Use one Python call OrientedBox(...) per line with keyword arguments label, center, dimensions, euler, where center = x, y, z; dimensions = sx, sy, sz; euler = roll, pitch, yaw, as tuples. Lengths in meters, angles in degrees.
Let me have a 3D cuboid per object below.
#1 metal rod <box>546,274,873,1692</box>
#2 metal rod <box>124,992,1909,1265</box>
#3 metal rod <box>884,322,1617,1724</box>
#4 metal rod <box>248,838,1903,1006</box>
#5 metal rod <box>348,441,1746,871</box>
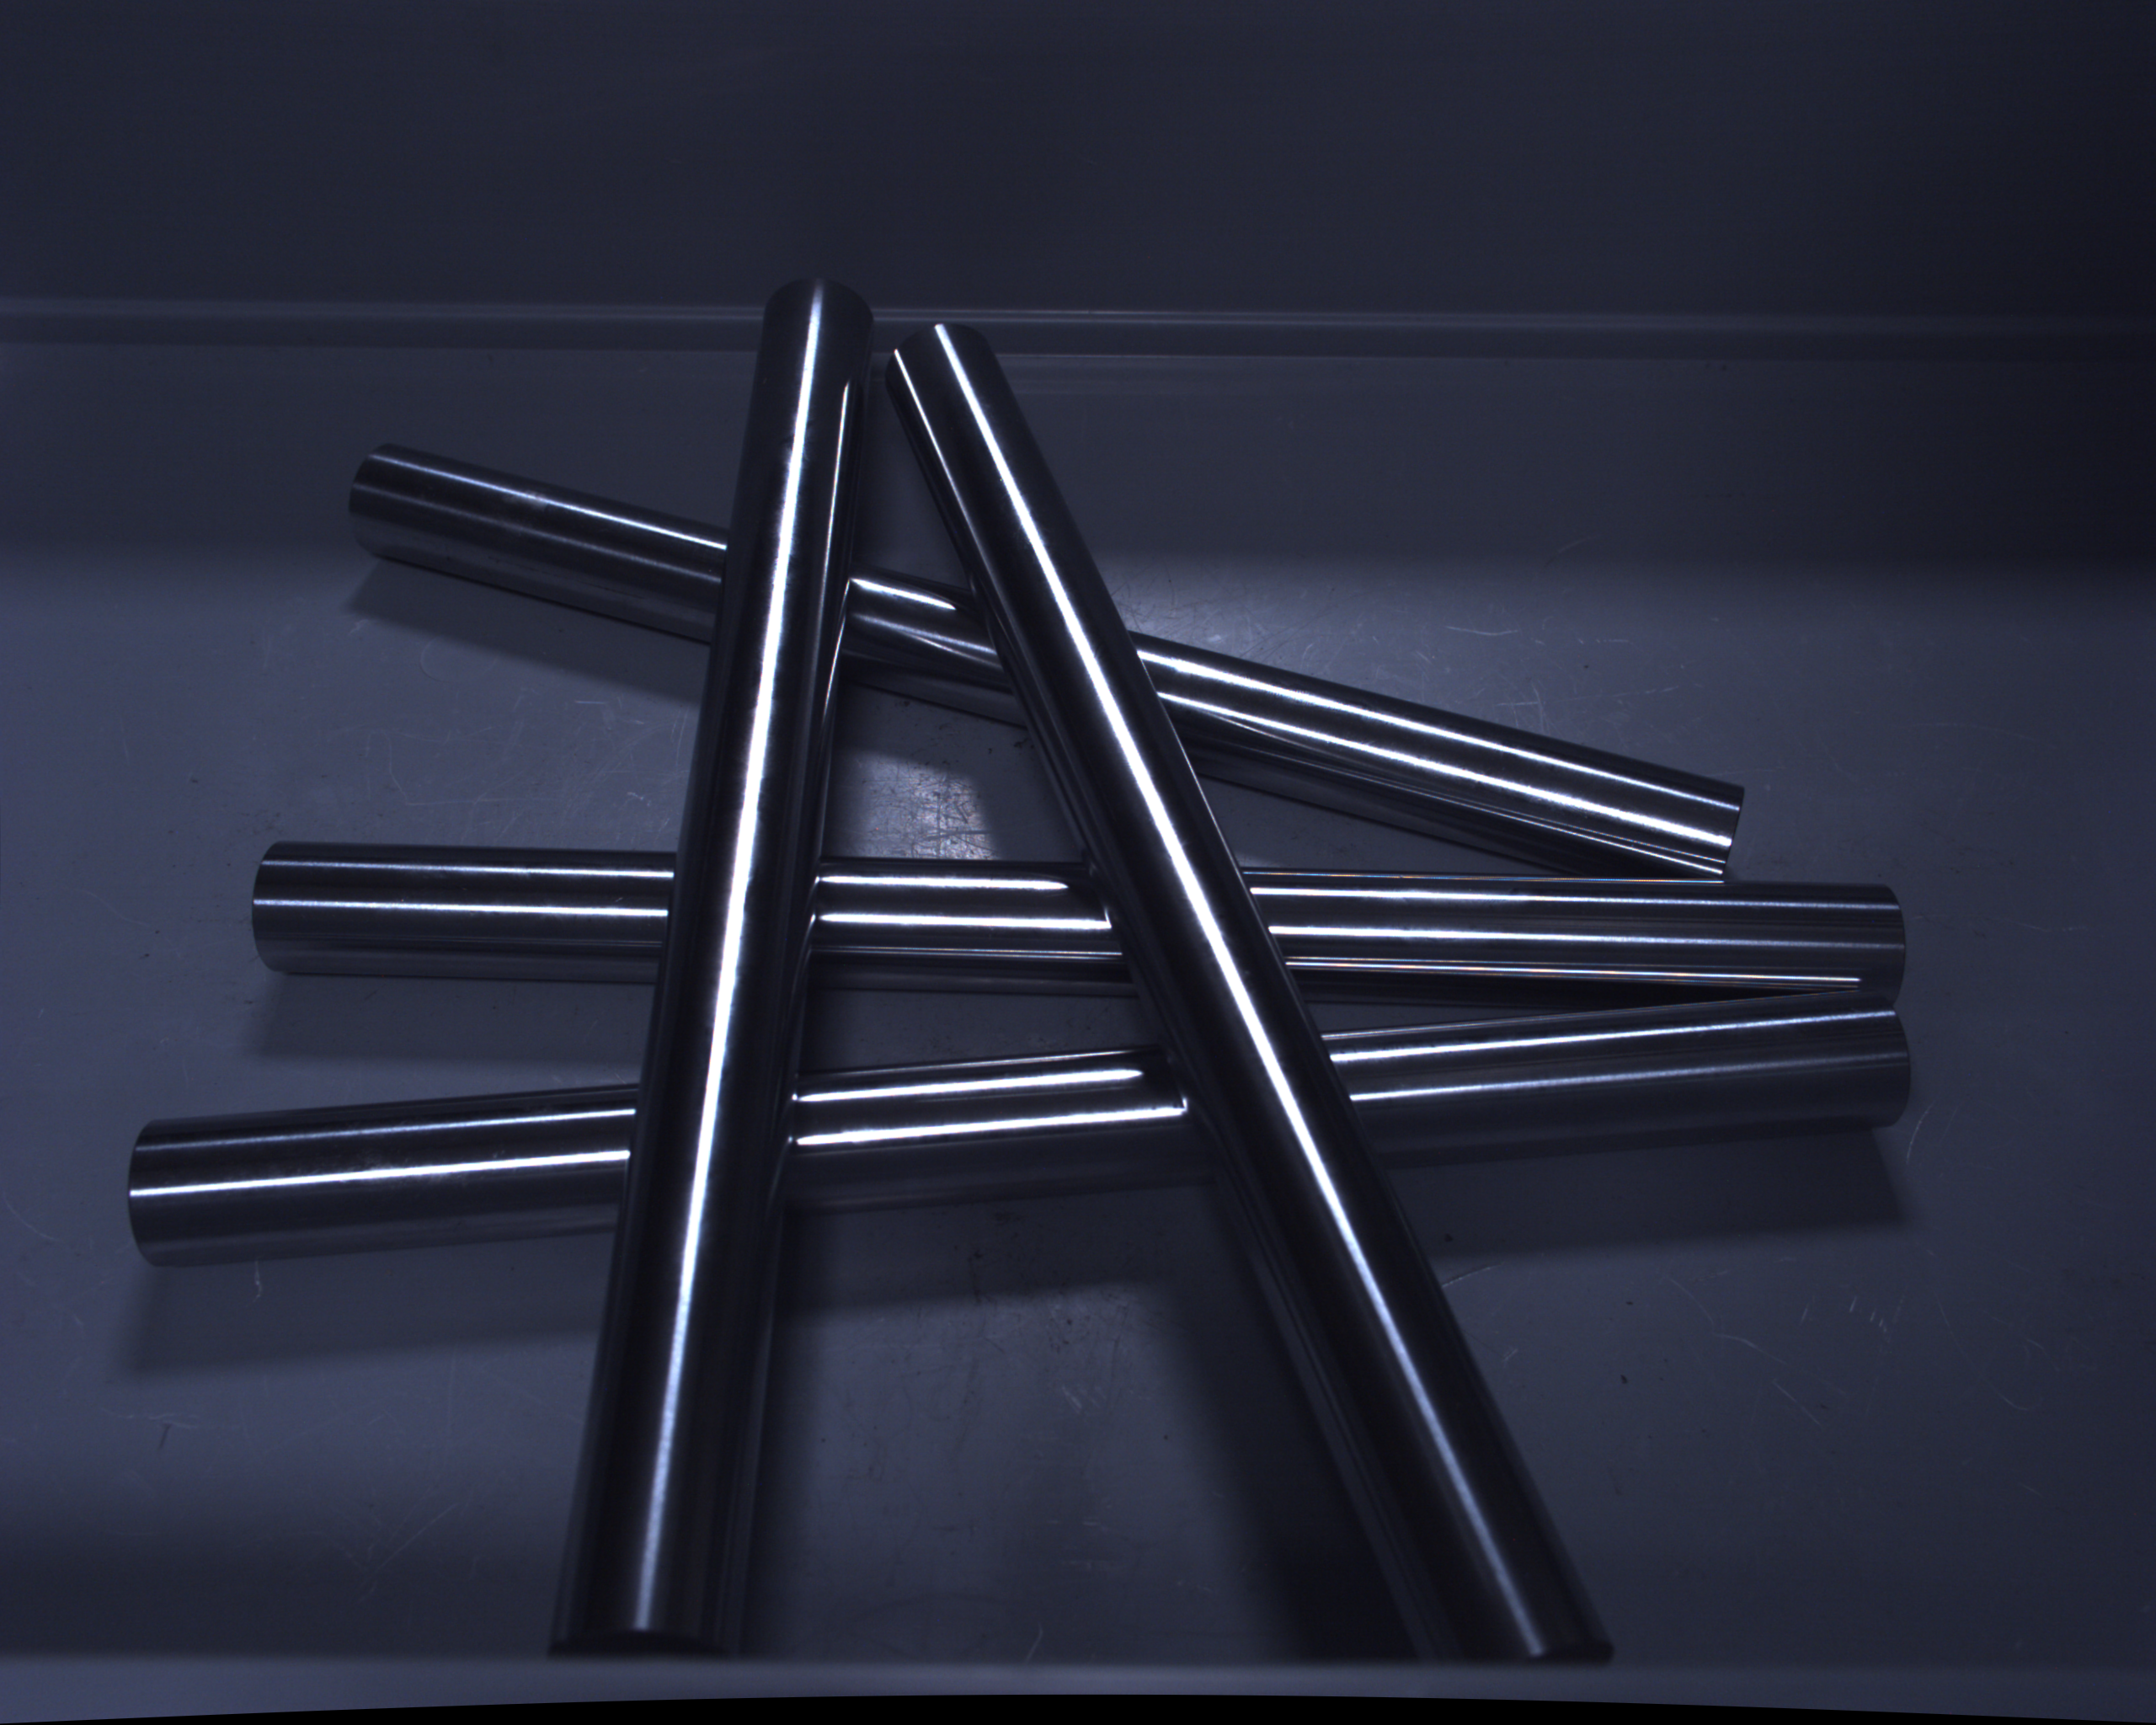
OrientedBox(label="metal rod", center=(-0.059, -0.008, 0.376), dimensions=(0.025, 0.025, 0.300), euler=(0, 50, 0))
OrientedBox(label="metal rod", center=(-0.007, 0.046, 0.365), dimensions=(0.302, 0.025, 0.025), euler=(-4, 50, -4))
OrientedBox(label="metal rod", center=(0.015, 0.000, 0.370), dimensions=(0.025, 0.025, 0.299), euler=(-14, 51, -12))
OrientedBox(label="metal rod", center=(-0.001, 0.012, 0.392), dimensions=(0.302, 0.025, 0.025), euler=(2, 50, 1))
OrientedBox(label="metal rod", center=(-0.015, -0.043, 0.438), dimensions=(0.301, 0.025, 0.025), euler=(16, 52, 12))
